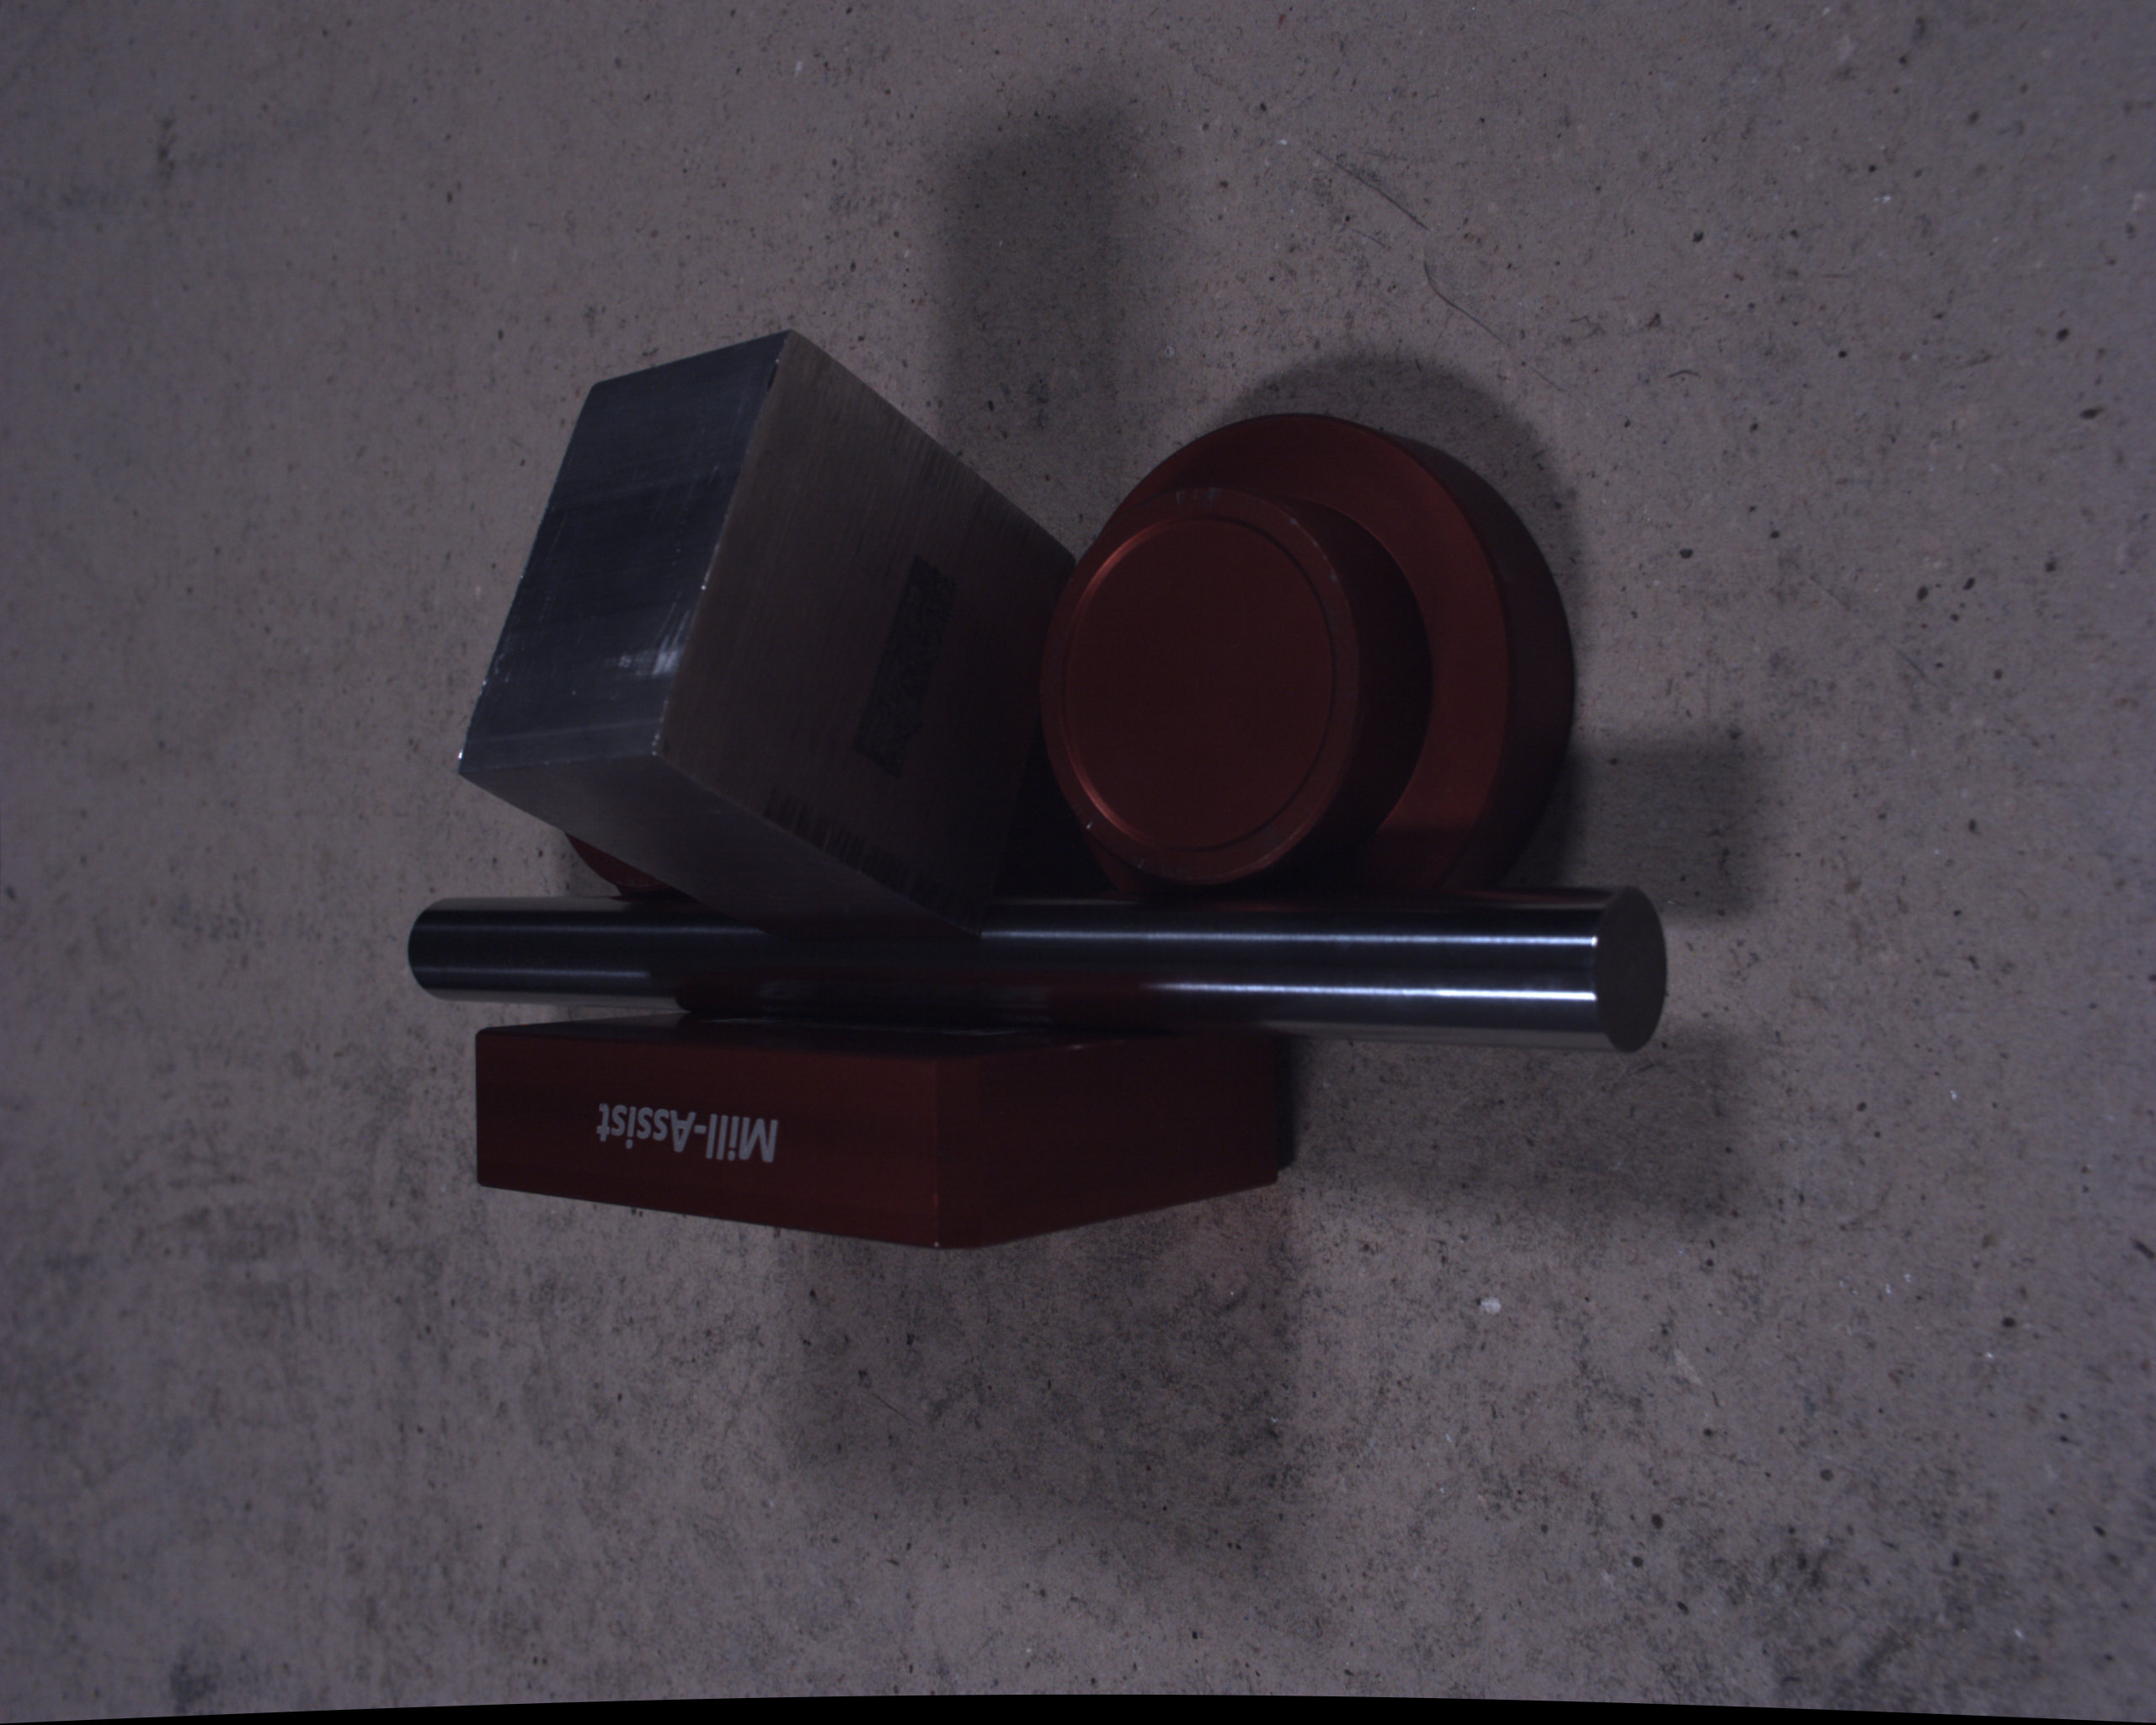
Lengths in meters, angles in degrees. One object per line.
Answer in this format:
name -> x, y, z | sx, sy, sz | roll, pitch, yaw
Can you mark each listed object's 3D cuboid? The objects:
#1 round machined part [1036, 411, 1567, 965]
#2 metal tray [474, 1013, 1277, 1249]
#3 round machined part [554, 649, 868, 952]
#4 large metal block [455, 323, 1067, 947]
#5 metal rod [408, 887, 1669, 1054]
round machined part -> 0.032, -0.031, 0.366 | 0.098, 0.042, 0.097 | 0, 90, 39
metal tray -> -0.040, 0.046, 0.394 | 0.130, 0.091, 0.030 | -1, 89, 39
round machined part -> -0.081, -0.027, 0.458 | 0.098, 0.042, 0.097 | 0, 90, 39
large metal block -> -0.052, -0.037, 0.377 | 0.050, 0.080, 0.080 | -3, 65, 39
metal rod -> -0.033, 0.019, 0.405 | 0.300, 0.025, 0.025 | -1, 89, 39
